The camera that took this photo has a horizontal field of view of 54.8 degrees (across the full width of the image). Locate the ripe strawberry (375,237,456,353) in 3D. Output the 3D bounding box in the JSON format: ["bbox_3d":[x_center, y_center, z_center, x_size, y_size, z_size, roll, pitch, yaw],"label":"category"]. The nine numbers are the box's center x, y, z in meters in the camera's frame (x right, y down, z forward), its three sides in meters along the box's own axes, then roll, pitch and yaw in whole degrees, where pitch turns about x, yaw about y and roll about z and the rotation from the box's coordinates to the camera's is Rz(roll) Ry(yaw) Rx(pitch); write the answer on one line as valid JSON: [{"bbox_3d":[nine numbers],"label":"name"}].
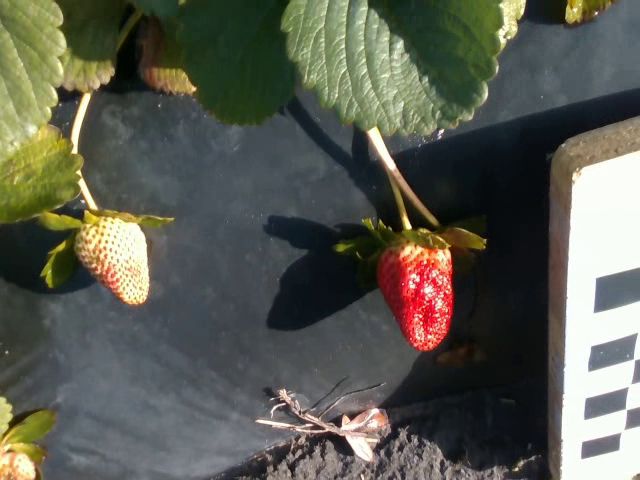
[{"bbox_3d":[0.015,0.007,0.096,0.015,0.022,0.015,-11,-9,-3],"label":"ripe strawberry"}]
